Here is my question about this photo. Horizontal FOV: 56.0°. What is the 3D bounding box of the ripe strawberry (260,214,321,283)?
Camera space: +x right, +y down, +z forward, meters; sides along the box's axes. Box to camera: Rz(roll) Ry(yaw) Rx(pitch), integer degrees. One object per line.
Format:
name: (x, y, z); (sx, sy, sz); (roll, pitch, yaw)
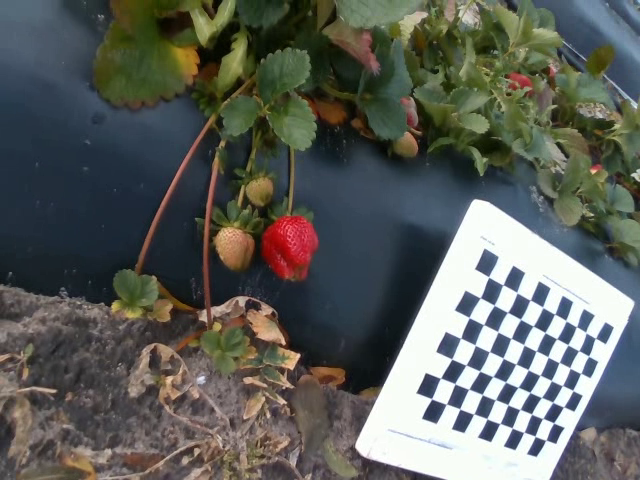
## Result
ripe strawberry: (-0.020, 0.004, 0.537); (0.066, 0.075, 0.052); (5, 10, -31)
